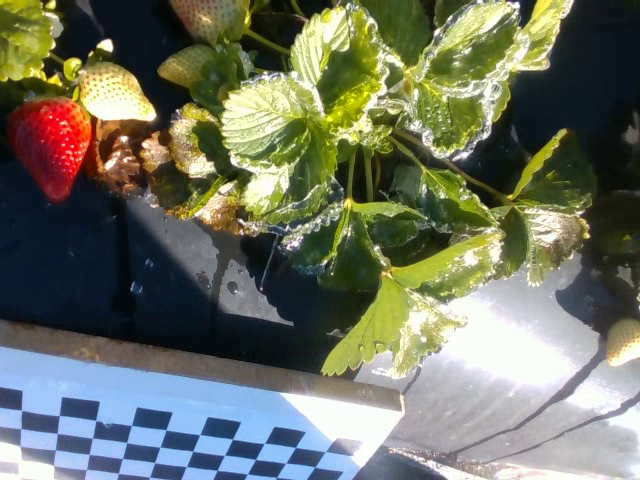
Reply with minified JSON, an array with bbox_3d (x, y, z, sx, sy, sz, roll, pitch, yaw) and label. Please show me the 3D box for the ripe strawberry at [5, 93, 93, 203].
[{"bbox_3d":[-0.123,-0.040,0.277,0.040,0.053,0.042,-16,-21,7],"label":"ripe strawberry"}]
